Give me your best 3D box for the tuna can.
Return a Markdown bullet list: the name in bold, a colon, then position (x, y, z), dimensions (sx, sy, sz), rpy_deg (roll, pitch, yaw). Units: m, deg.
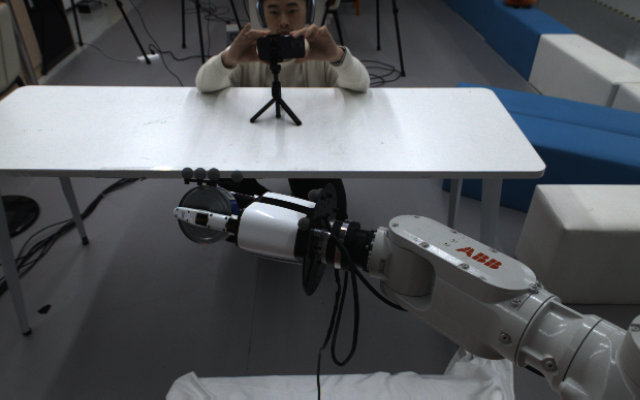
- **tuna can**: position (-0.162, 0.021, 0.710), dimensions (0.085, 0.085, 0.034), rpy_deg (12, 2, 14)
